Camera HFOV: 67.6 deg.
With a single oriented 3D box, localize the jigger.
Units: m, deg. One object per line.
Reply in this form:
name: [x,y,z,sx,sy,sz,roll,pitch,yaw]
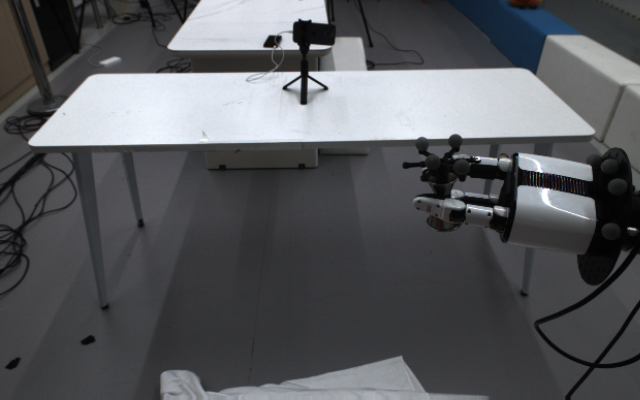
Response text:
jigger: [0.152,-0.003,0.601,0.043,0.071,0.043,-9,31,5]
